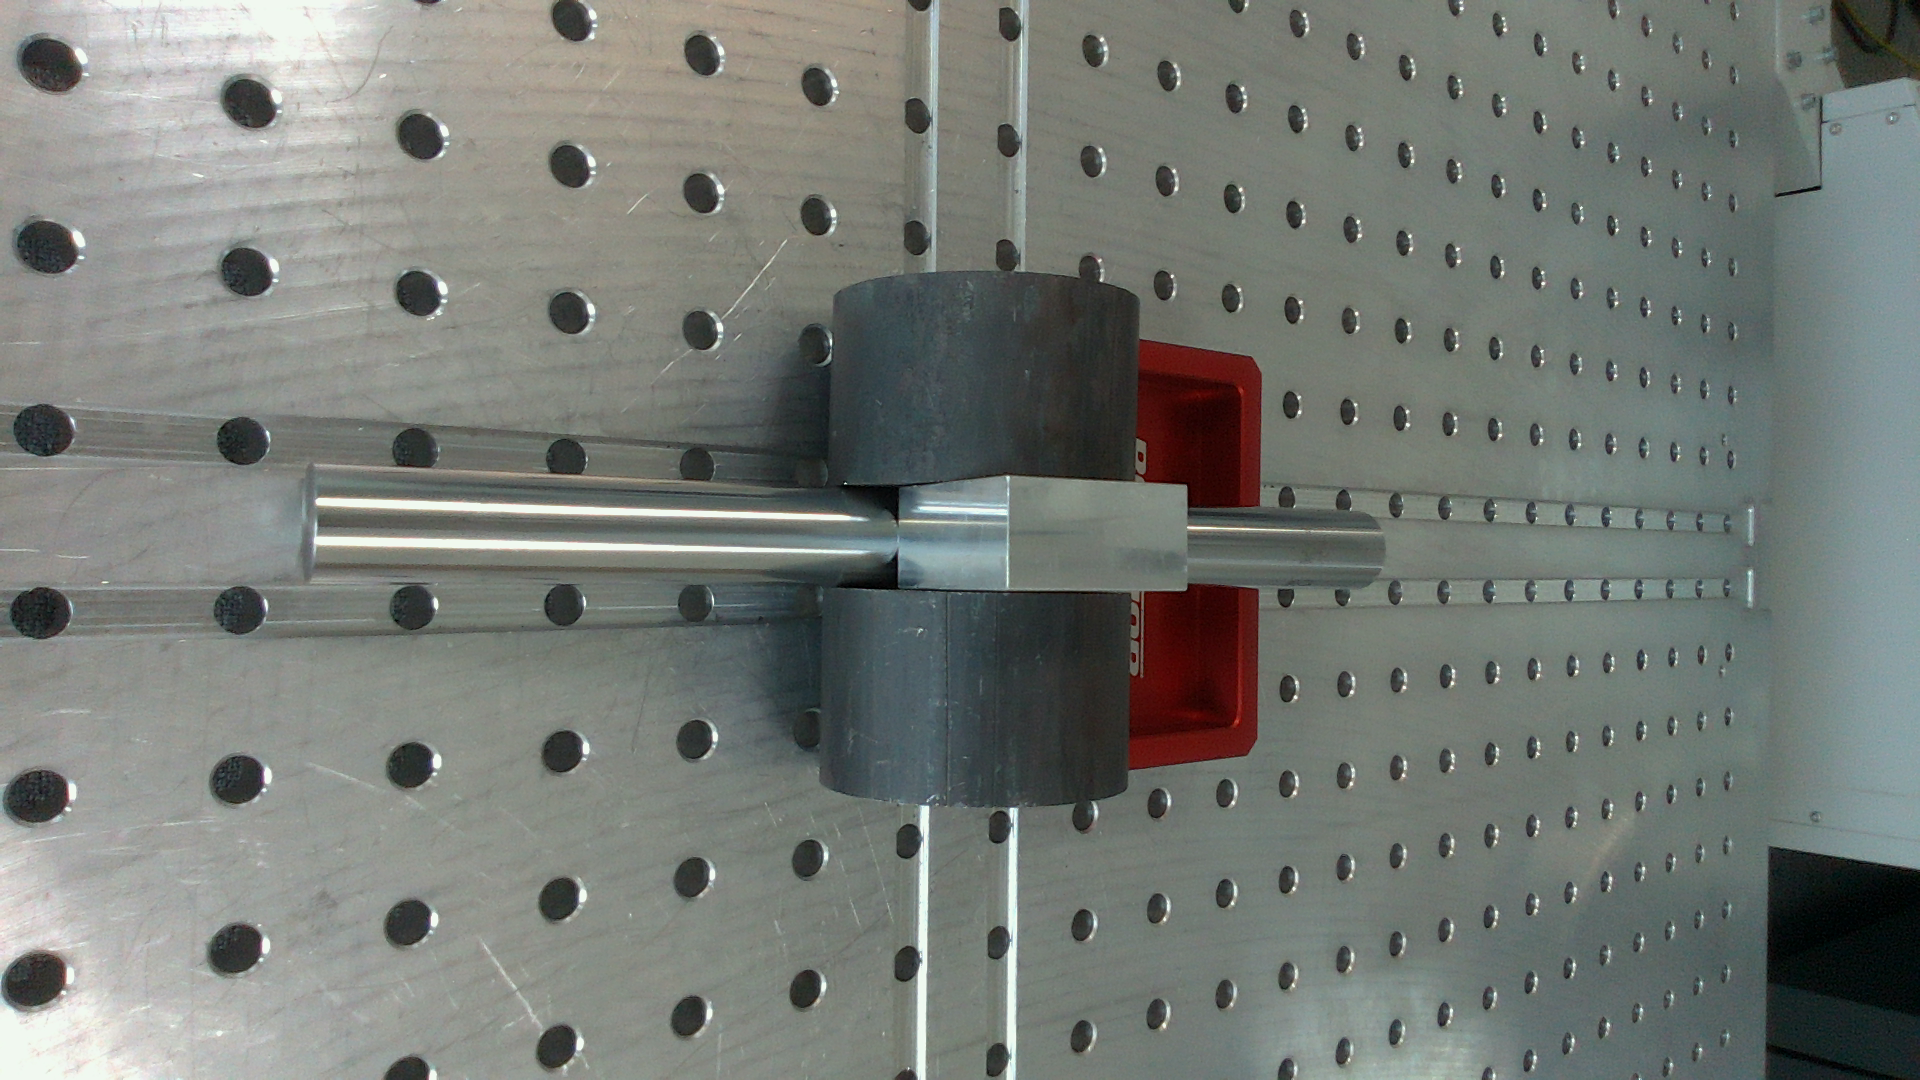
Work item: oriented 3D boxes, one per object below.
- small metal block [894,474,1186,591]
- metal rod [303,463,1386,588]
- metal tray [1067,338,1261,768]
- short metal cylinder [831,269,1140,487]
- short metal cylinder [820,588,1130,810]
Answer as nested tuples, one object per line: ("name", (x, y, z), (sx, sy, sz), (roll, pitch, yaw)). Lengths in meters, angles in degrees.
("small metal block", (0.018, -0.001, 0.329), (0.050, 0.050, 0.025), (1, 90, -31))
("metal rod", (-0.004, 0.000, 0.358), (0.301, 0.025, 0.025), (1, 89, -31))
("metal tray", (0.054, 0.004, 0.433), (0.090, 0.030, 0.130), (2, 89, -40))
("short metal cylinder", (0.007, -0.038, 0.360), (0.080, 0.080, 0.050), (1, 89, -40))
("short metal cylinder", (0.004, 0.038, 0.359), (0.080, 0.080, 0.050), (2, 89, -40))
